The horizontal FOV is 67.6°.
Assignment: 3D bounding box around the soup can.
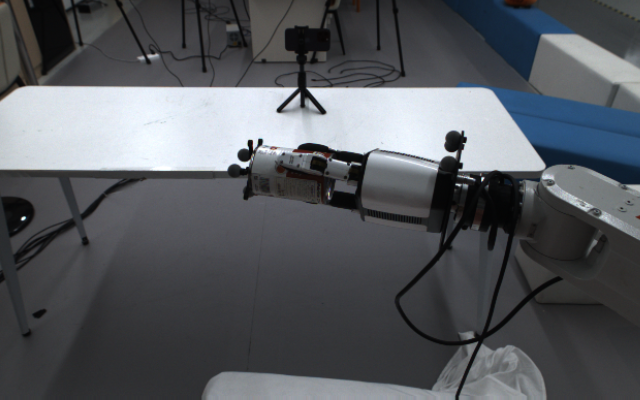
[{"bbox_3d":[-0.032,-0.034,0.631,0.101,0.067,0.067,7,35,10],"label":"soup can"}]
